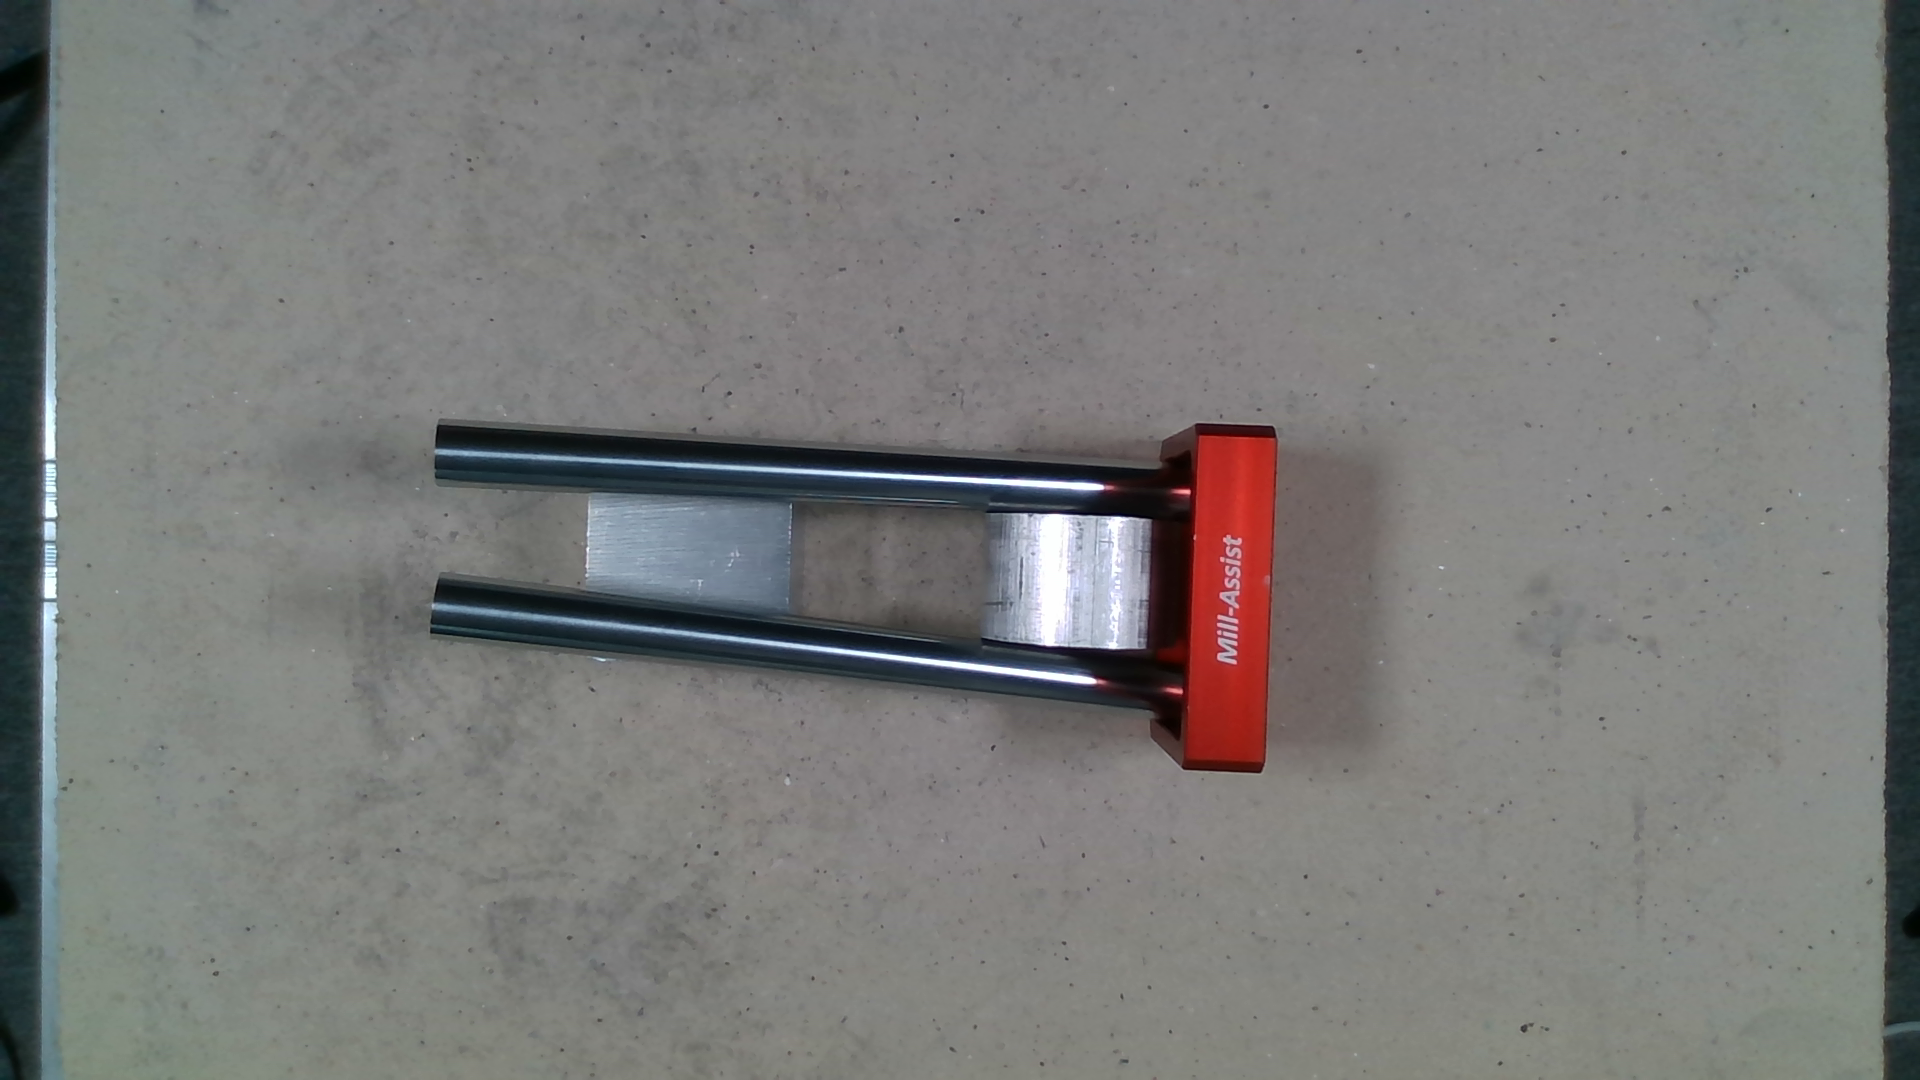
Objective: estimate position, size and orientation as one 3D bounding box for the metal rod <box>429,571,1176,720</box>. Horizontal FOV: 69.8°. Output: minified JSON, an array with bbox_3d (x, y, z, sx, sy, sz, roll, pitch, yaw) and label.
[{"bbox_3d":[-0.048,0.044,0.541,0.300,0.025,0.025,8,90,-15],"label":"metal rod"}]

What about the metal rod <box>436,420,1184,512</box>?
[{"bbox_3d":[-0.045,-0.027,0.541,0.300,0.025,0.025,2,90,-15],"label":"metal rod"}]

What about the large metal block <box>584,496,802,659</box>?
[{"bbox_3d":[-0.109,0.008,0.572,0.080,0.050,0.080,2,90,0],"label":"large metal block"}]

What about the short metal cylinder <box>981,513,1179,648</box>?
[{"bbox_3d":[0.048,0.015,0.560,0.080,0.080,0.050,2,91,0],"label":"short metal cylinder"}]

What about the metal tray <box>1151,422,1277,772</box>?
[{"bbox_3d":[0.100,0.021,0.555,0.030,0.090,0.130,2,90,0],"label":"metal tray"}]
